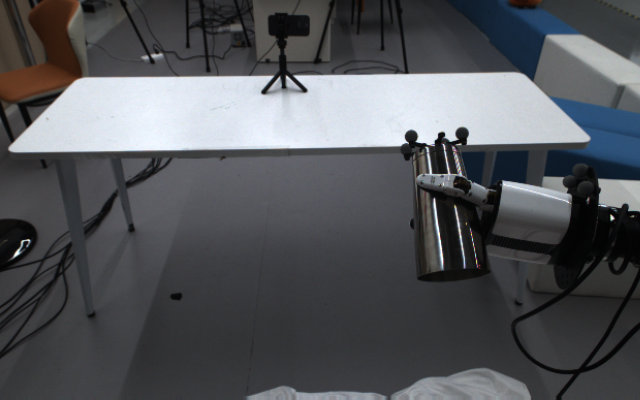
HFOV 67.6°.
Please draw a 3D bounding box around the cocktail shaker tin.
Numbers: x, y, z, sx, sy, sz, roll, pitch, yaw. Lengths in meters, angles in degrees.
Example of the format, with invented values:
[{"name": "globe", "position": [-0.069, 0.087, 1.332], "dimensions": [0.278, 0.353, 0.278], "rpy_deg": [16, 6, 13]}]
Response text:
[{"name": "cocktail shaker tin", "position": [0.165, 0.016, 0.640], "dimensions": [0.093, 0.093, 0.170], "rpy_deg": [-2, 71, -6]}]
